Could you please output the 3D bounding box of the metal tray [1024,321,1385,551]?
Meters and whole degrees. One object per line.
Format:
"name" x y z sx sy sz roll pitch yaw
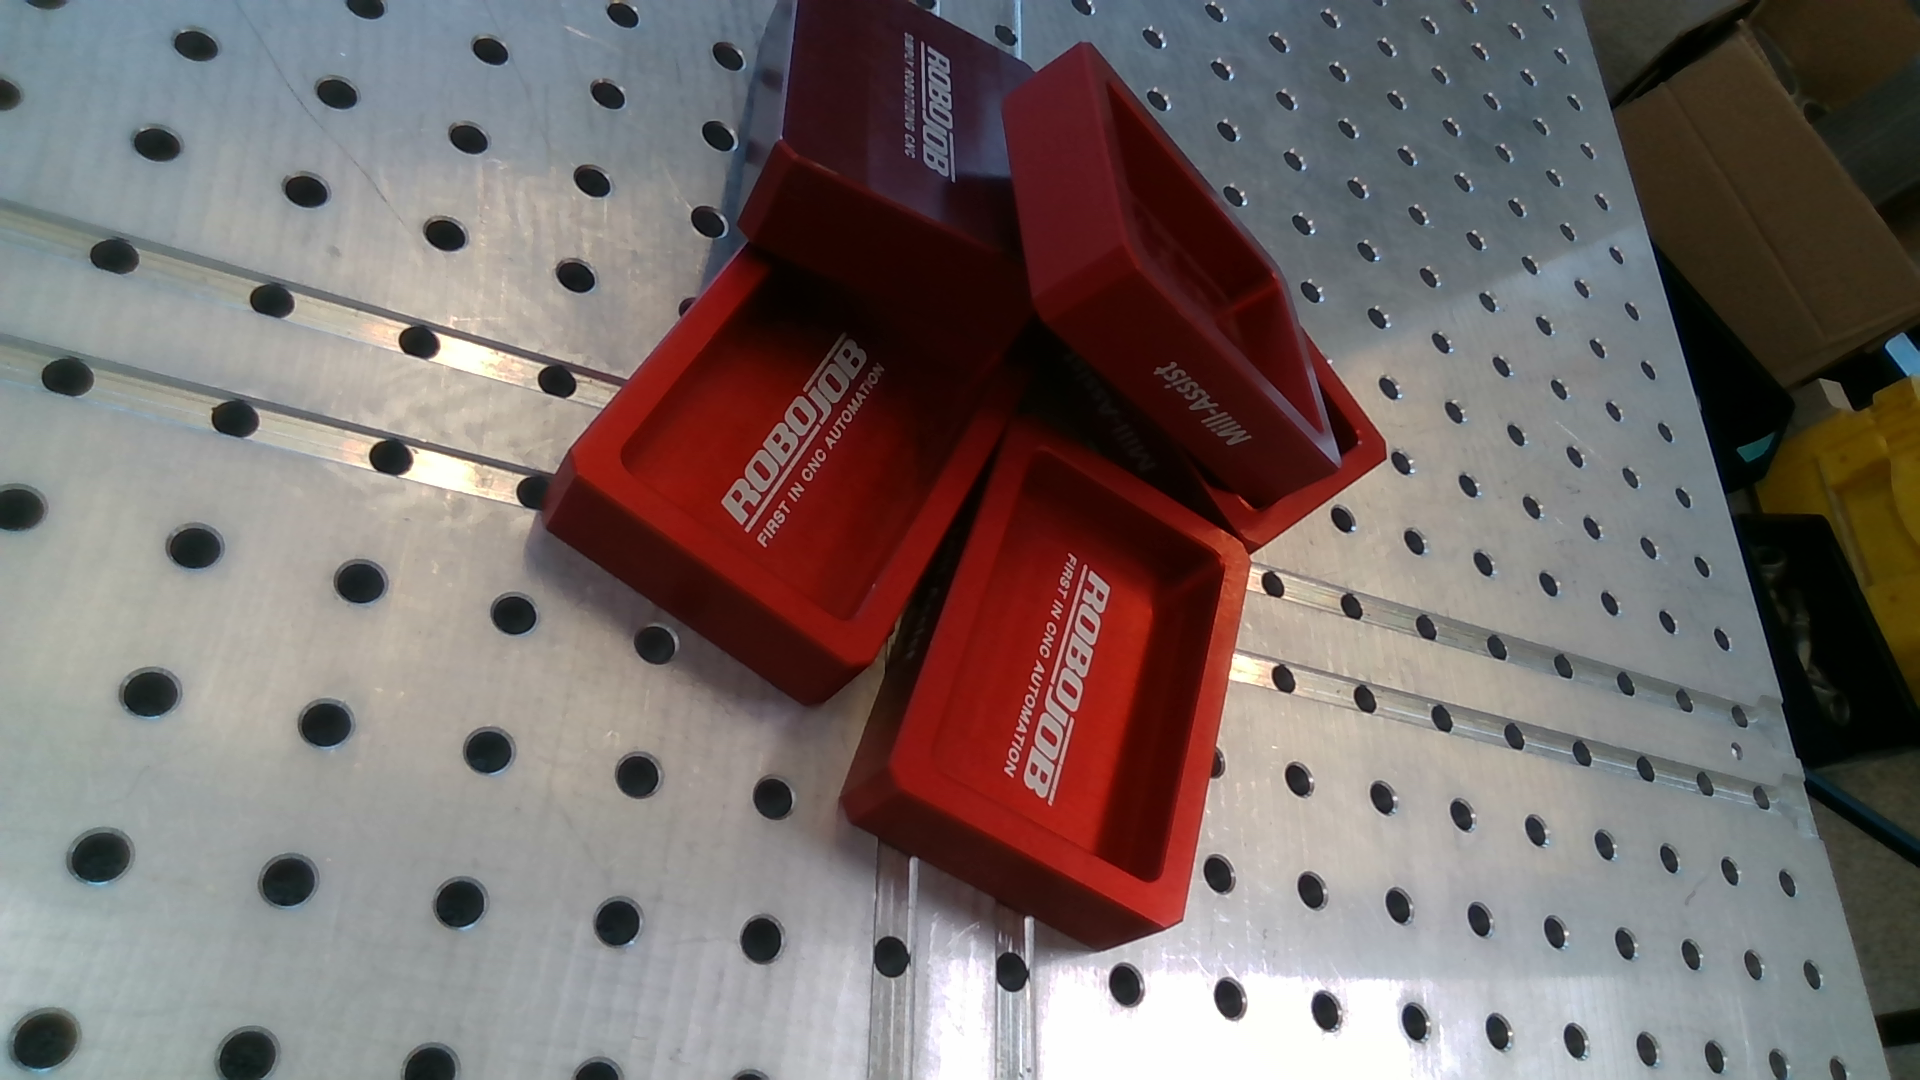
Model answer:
"metal tray" 0.078 -0.060 0.472 0.090 0.030 0.130 -30 83 -40

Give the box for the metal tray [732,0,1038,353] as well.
"metal tray" -0.017 -0.123 0.426 0.090 0.030 0.130 20 42 -21

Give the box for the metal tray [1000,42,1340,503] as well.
"metal tray" 0.066 -0.077 0.420 0.130 0.030 0.090 33 40 -43

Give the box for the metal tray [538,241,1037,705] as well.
"metal tray" -0.042 -0.031 0.382 0.090 0.030 0.130 36 52 -10

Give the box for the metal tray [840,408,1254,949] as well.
"metal tray" 0.030 0.036 0.390 0.090 0.030 0.130 30 53 -14
